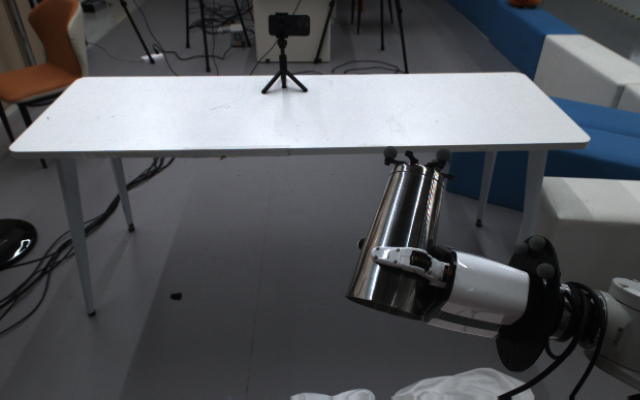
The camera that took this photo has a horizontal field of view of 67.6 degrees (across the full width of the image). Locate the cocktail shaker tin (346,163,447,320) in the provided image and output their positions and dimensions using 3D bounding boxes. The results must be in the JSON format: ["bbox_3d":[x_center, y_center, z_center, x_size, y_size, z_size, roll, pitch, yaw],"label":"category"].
[{"bbox_3d":[0.098,0.047,0.578,0.093,0.093,0.170,13,74,15],"label":"cocktail shaker tin"}]
